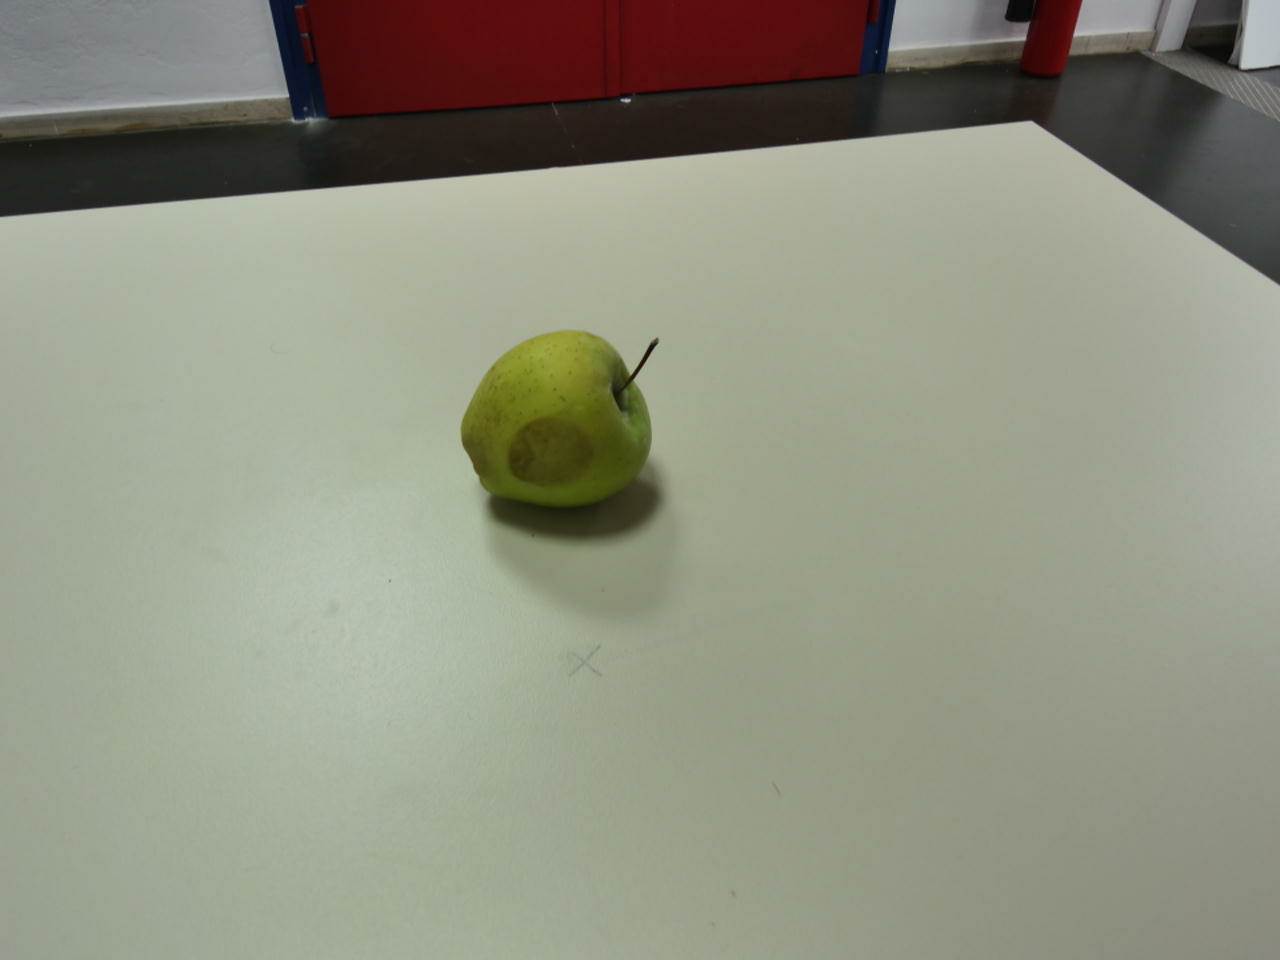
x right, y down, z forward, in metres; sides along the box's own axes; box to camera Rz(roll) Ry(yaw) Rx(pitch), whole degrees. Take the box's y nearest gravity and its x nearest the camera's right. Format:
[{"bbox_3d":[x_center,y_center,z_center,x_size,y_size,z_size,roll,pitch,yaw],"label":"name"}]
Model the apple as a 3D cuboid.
[{"bbox_3d":[-0.033,-0.026,0.420,0.077,0.075,0.072,21,42,23],"label":"apple"}]
